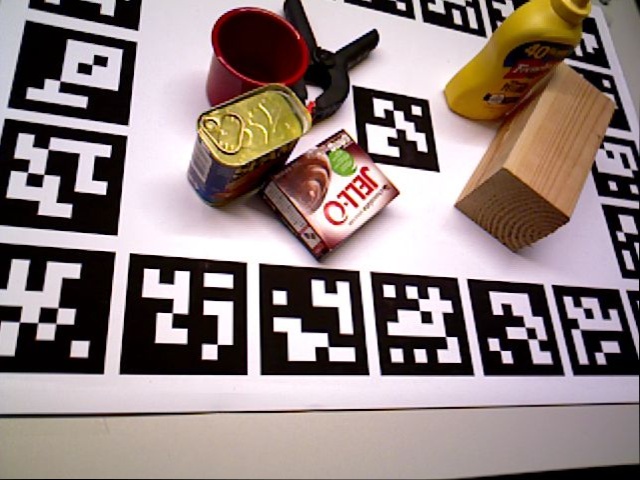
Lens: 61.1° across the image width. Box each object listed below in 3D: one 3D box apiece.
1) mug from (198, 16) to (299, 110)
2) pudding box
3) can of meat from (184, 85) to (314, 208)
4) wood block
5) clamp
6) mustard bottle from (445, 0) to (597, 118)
[{"bbox_3d":[-0.073,-0.167,0.548,0.093,0.083,0.115,25,63,-10],"label":"mug"},{"bbox_3d":[0.016,-0.040,0.529,0.111,0.039,0.090,-38,86,-31],"label":"pudding box"},{"bbox_3d":[-0.067,-0.079,0.480,0.100,0.085,0.058,-28,81,-29],"label":"can of meat"},{"bbox_3d":[0.252,-0.089,0.617,0.090,0.093,0.202,37,58,-1],"label":"wood block"},{"bbox_3d":[-0.001,-0.195,0.593,0.121,0.037,0.162,23,64,-13],"label":"clamp"},{"bbox_3d":[0.227,-0.210,0.592,0.095,0.195,0.058,0,68,-21],"label":"mustard bottle"}]
